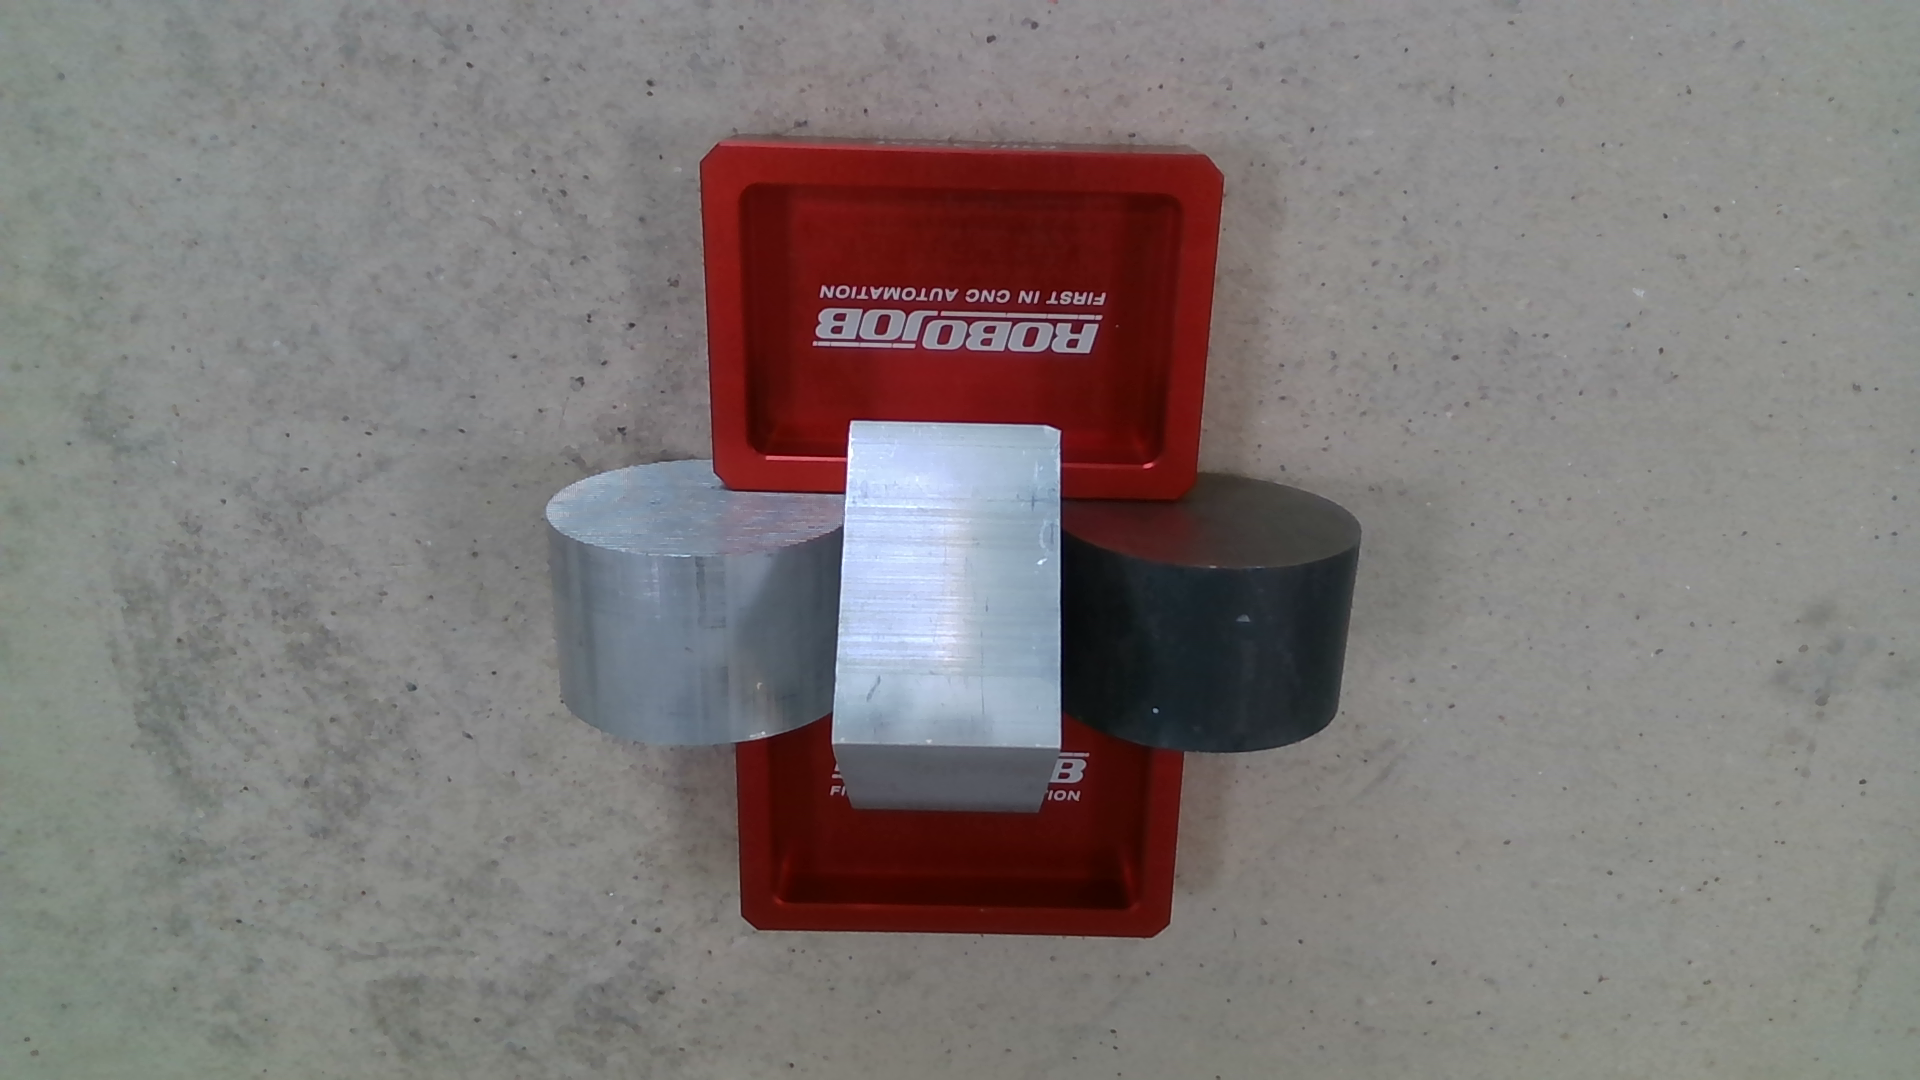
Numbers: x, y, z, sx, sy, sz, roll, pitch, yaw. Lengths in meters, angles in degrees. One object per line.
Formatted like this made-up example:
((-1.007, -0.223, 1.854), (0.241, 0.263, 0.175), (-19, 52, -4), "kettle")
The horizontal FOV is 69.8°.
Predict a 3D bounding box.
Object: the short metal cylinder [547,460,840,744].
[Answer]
((-0.067, 0.013, 0.369), (0.080, 0.080, 0.050), (2, 110, -1), "short metal cylinder")

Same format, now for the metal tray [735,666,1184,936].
((-0.001, 0.073, 0.418), (0.130, 0.030, 0.090), (1, 110, -1), "metal tray")

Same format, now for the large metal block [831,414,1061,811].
((-0.002, 0.022, 0.351), (0.050, 0.080, 0.080), (1, 70, 0), "large metal block")

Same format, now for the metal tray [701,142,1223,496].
((0.000, -0.059, 0.370), (0.130, 0.030, 0.090), (1, 110, -1), "metal tray")

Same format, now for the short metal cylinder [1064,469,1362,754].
((0.063, 0.016, 0.370), (0.080, 0.080, 0.050), (2, 110, -1), "short metal cylinder")
